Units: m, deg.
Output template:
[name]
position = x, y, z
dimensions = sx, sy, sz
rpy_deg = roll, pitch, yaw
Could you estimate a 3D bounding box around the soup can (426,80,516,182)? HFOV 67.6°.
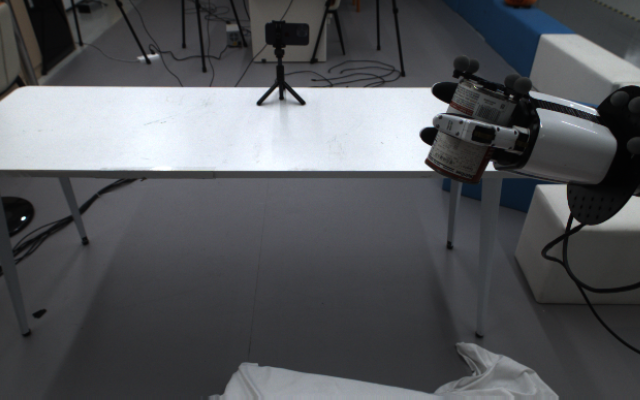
[soup can]
position = 0.171, -0.079, 0.551
dimensions = 0.067, 0.101, 0.067
rpy_deg = 16, 21, -7
